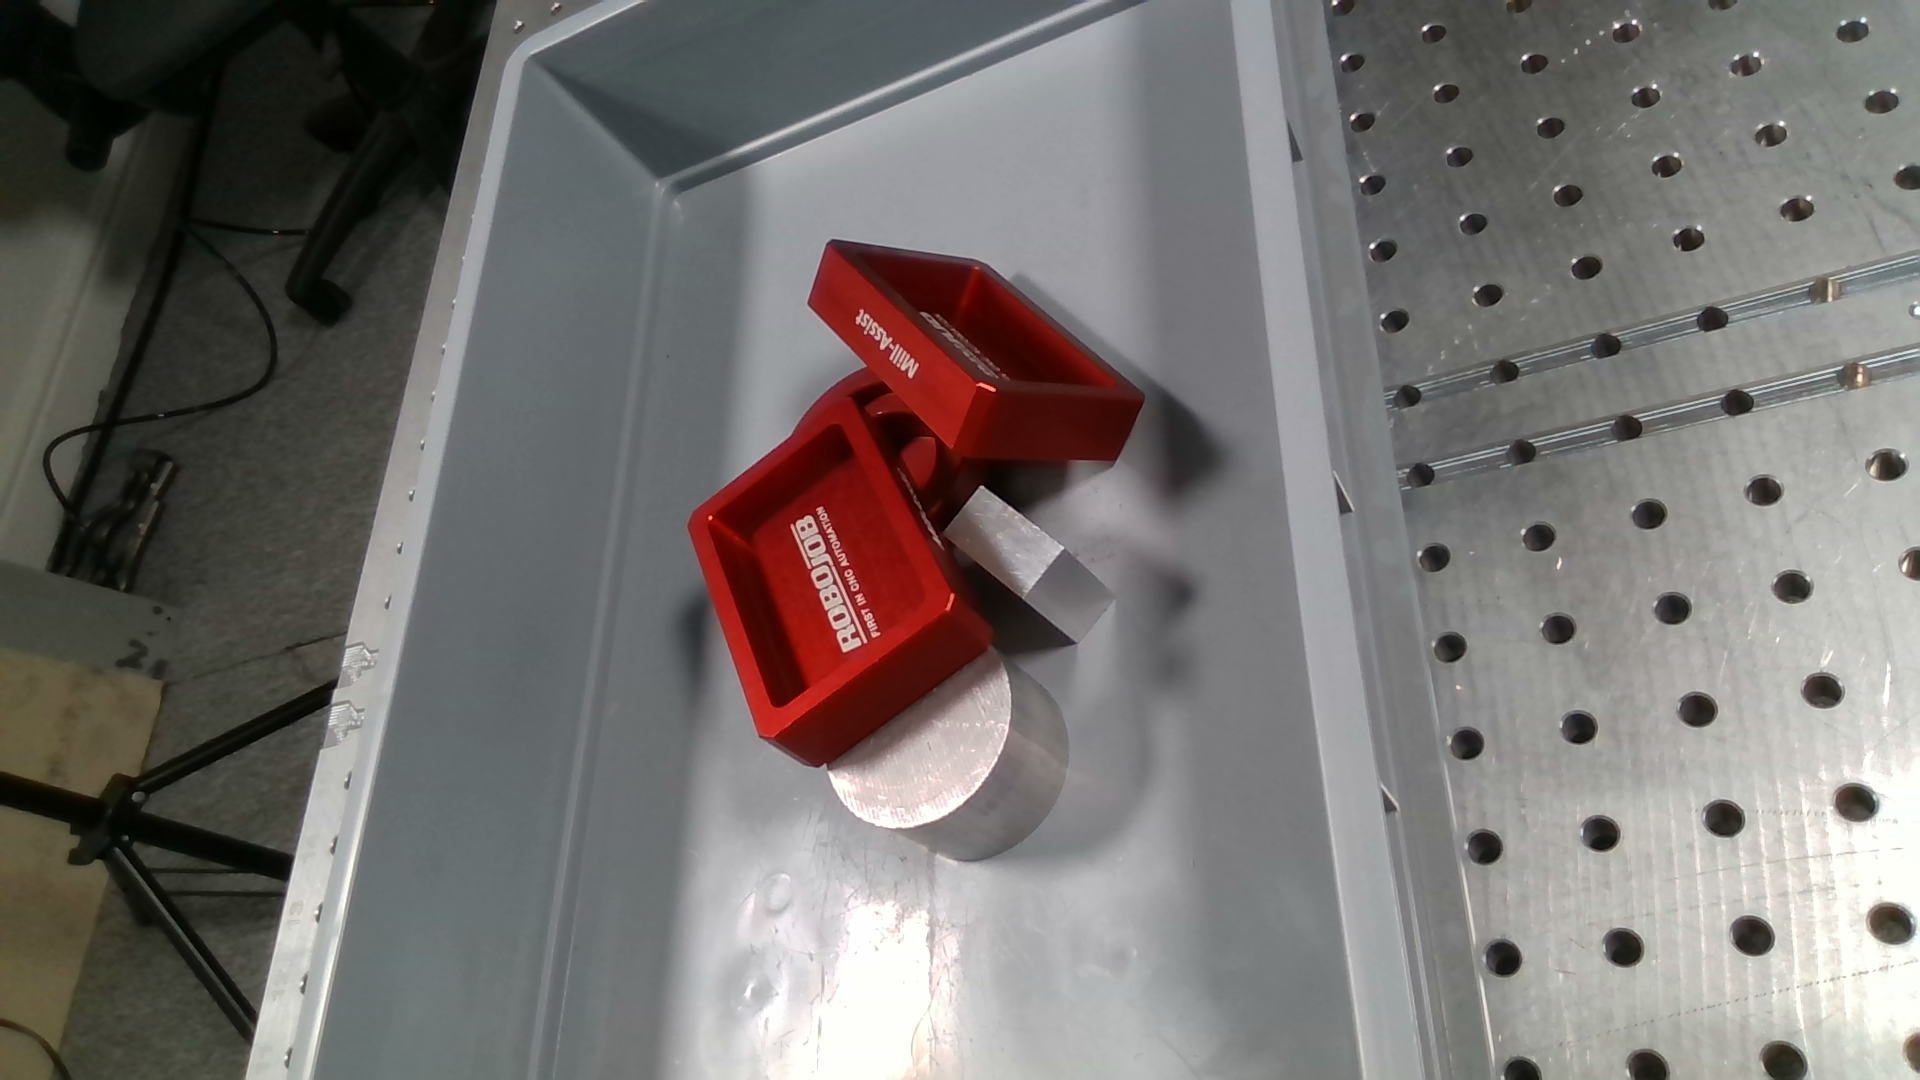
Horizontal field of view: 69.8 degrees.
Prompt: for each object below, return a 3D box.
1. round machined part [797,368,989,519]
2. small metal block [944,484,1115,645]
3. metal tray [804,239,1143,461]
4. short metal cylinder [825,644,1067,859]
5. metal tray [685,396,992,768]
[{"bbox_3d":[-0.030,-0.027,0.607,0.098,0.042,0.098,-14,59,25],"label":"round machined part"},{"bbox_3d":[0.027,0.010,0.545,0.025,0.050,0.050,-50,52,-1],"label":"small metal block"},{"bbox_3d":[0.004,-0.081,0.580,0.130,0.090,0.030,47,126,39],"label":"metal tray"},{"bbox_3d":[-0.006,0.078,0.529,0.080,0.050,0.080,-14,59,25],"label":"short metal cylinder"},{"bbox_3d":[-0.052,0.013,0.544,0.090,0.030,0.130,-37,47,9],"label":"metal tray"}]
